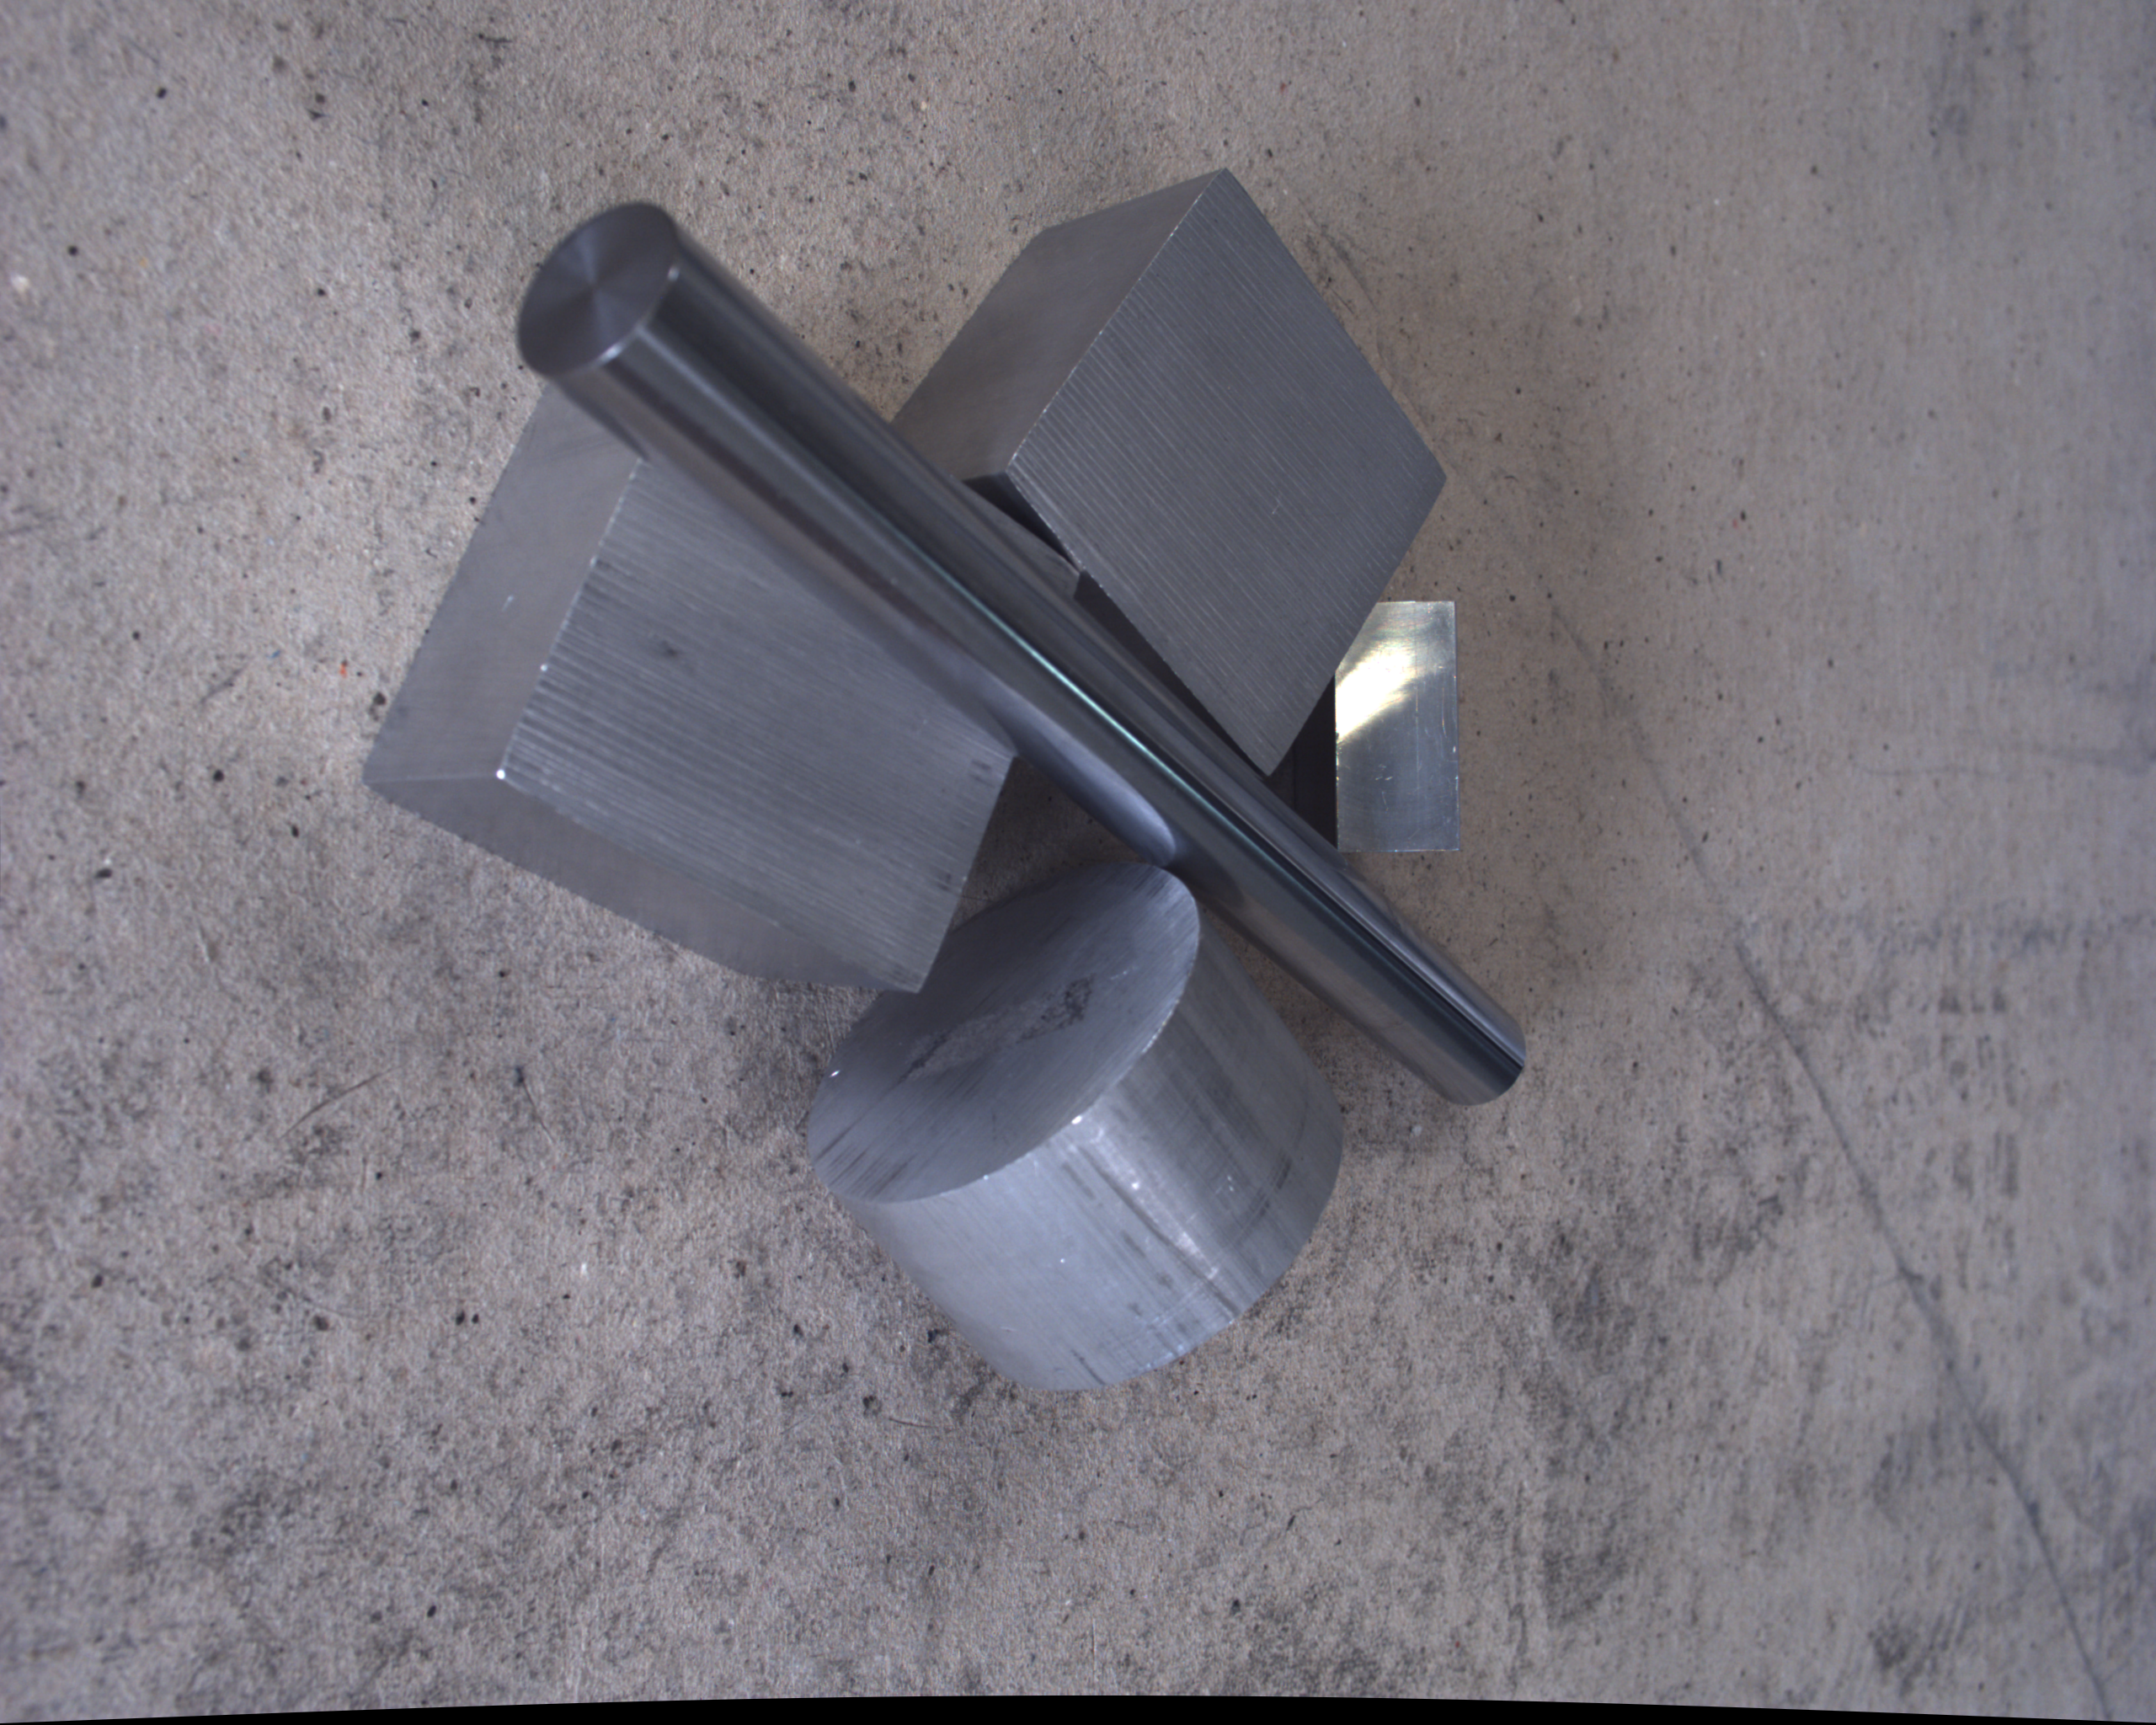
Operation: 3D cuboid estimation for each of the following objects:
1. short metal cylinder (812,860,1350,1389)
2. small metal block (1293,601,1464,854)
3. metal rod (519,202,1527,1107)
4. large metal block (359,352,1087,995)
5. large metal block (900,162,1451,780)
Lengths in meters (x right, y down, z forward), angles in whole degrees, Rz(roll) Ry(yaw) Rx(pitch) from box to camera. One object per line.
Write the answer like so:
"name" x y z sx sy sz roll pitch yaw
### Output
"short metal cylinder" 0.001 0.045 0.370 0.080 0.080 0.050 -51 121 -27
"small metal block" 0.062 -0.027 0.438 0.025 0.050 0.050 -1 92 -4
"metal rod" 0.017 -0.012 0.367 0.301 0.025 0.025 37 66 -51
"large metal block" -0.056 -0.032 0.343 0.080 0.050 0.080 31 71 -36
"large metal block" 0.015 -0.071 0.399 0.080 0.050 0.080 47 62 -30
